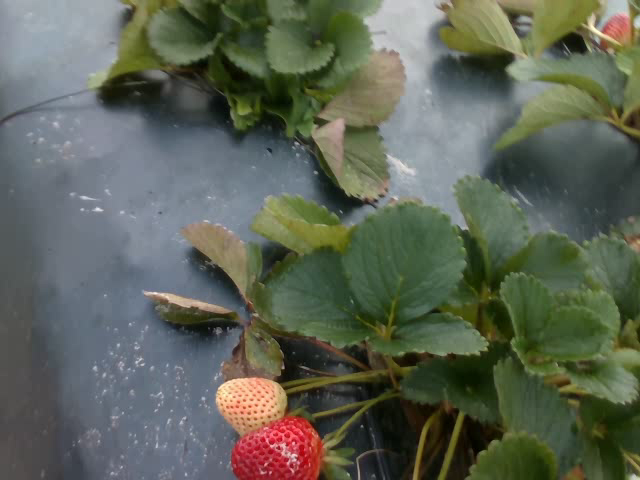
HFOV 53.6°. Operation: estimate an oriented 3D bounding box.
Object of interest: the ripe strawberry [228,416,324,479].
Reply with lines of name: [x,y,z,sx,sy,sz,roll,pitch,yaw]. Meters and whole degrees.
ripe strawberry: [-0.018,0.087,0.251,0.042,0.034,0.033,18,-29,-27]
